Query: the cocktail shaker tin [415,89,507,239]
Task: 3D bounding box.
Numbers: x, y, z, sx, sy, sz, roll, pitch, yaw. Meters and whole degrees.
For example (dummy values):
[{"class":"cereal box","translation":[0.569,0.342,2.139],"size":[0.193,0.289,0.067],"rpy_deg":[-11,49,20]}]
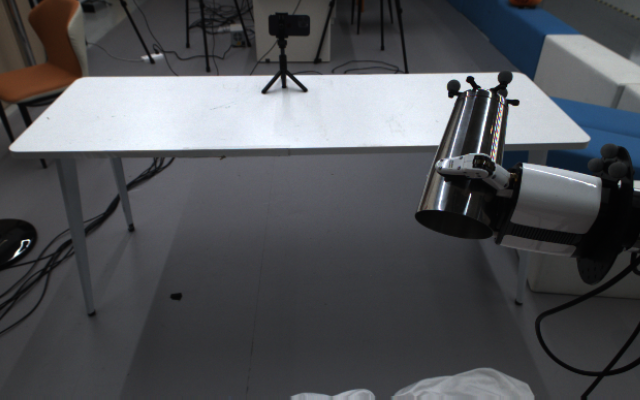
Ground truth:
[{"class":"cocktail shaker tin","translation":[0.182,-0.047,0.598],"size":[0.093,0.093,0.170],"rpy_deg":[14,72,16]}]
